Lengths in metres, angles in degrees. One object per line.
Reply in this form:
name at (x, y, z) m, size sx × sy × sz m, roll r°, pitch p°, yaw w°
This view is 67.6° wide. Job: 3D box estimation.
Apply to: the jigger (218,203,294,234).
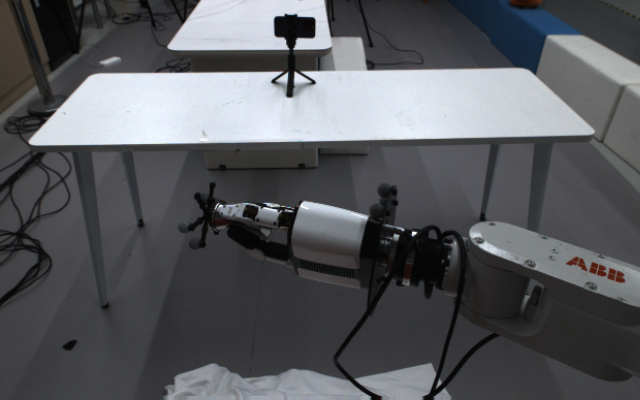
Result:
jigger at (-0.094, 0.022, 0.627) m, size 0.071 × 0.043 × 0.043 m, roll 8°, pitch 35°, yaw 15°
